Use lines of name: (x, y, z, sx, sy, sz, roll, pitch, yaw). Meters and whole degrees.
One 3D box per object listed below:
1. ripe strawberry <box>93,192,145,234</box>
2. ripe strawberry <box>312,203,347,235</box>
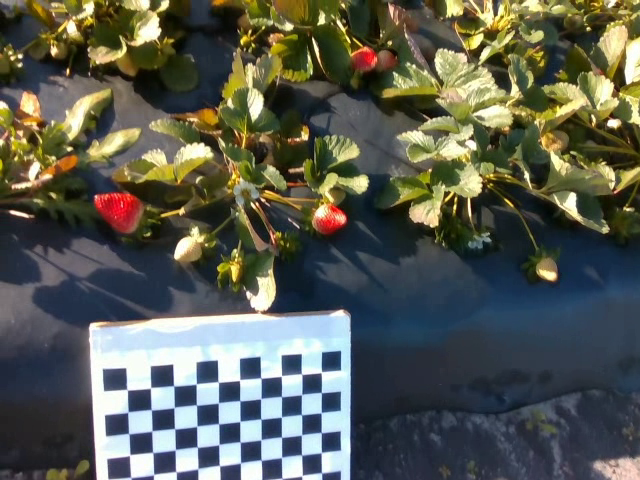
ripe strawberry: (-0.184, -0.029, 0.689, 0.053, 0.044, 0.036, 29, -3, -31)
ripe strawberry: (0.013, -0.022, 0.759, 0.045, 0.037, 0.042, -2, 19, 41)
